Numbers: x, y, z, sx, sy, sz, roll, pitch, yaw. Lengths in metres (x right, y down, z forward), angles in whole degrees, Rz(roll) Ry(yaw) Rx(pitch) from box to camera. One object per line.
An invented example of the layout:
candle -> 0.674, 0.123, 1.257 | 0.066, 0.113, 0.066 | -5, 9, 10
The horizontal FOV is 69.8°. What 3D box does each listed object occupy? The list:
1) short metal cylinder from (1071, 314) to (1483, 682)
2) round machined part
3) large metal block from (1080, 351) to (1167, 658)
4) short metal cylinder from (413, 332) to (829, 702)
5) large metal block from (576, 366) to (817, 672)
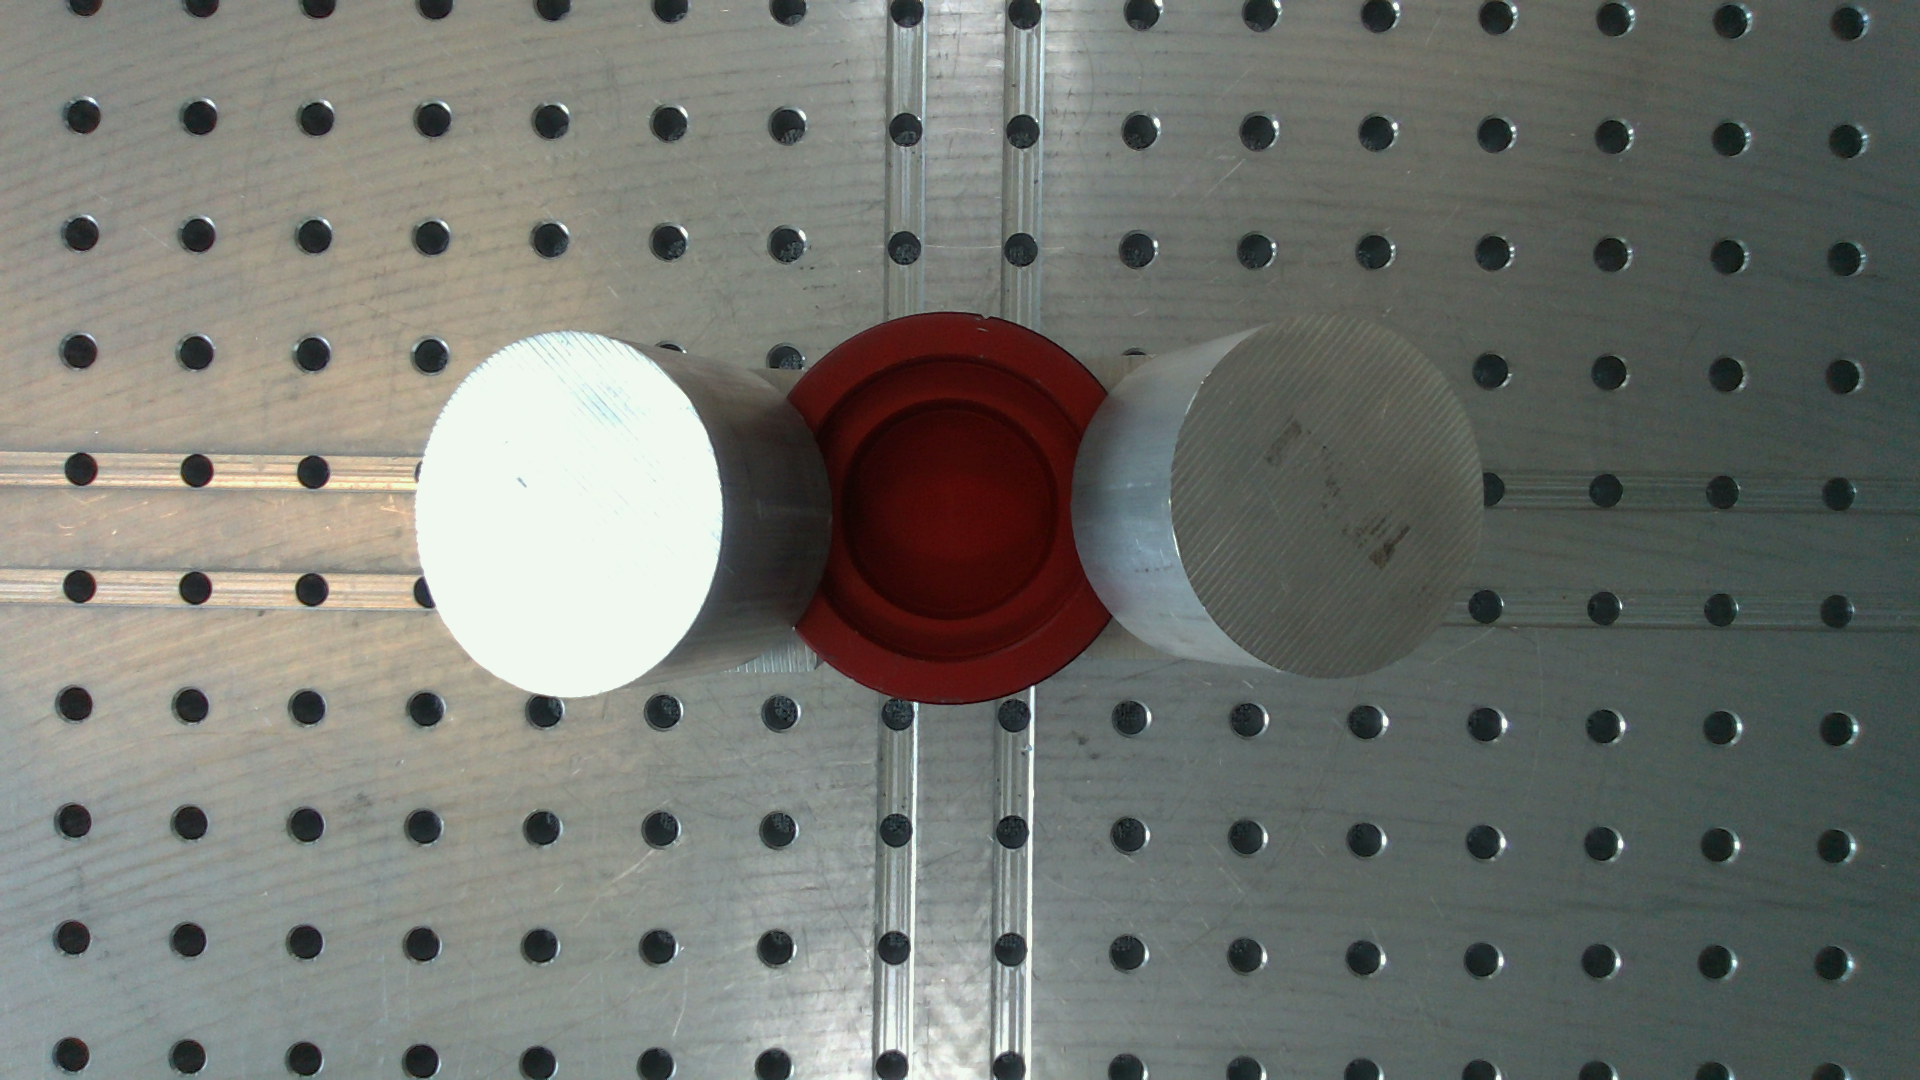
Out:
short metal cylinder -> 0.073, -0.009, 0.322 | 0.080, 0.050, 0.080 | 0, 90, -20
round machined part -> -0.003, -0.008, 0.360 | 0.098, 0.042, 0.098 | 0, 90, 0
large metal block -> 0.072, -0.010, 0.385 | 0.080, 0.050, 0.080 | -1, 90, 0
short metal cylinder -> -0.078, -0.005, 0.322 | 0.080, 0.050, 0.080 | 0, 91, 21
large metal block -> -0.077, -0.006, 0.385 | 0.080, 0.050, 0.080 | 1, 90, 0
